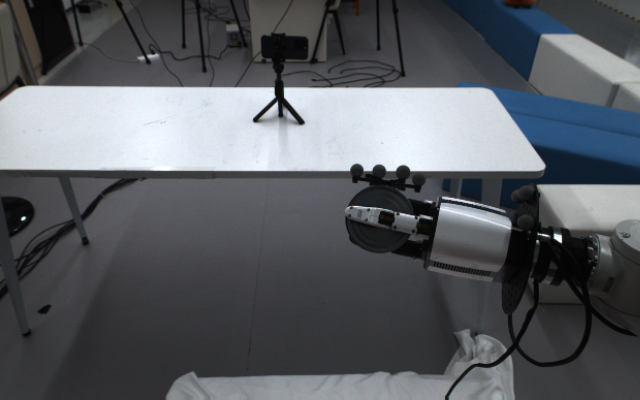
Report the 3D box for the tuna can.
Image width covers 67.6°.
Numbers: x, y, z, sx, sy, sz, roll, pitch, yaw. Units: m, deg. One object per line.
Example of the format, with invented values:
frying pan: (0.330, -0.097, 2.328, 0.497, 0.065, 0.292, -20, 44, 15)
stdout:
tuna can: (0.077, 0.020, 0.613, 0.085, 0.085, 0.034, 11, -7, 12)
